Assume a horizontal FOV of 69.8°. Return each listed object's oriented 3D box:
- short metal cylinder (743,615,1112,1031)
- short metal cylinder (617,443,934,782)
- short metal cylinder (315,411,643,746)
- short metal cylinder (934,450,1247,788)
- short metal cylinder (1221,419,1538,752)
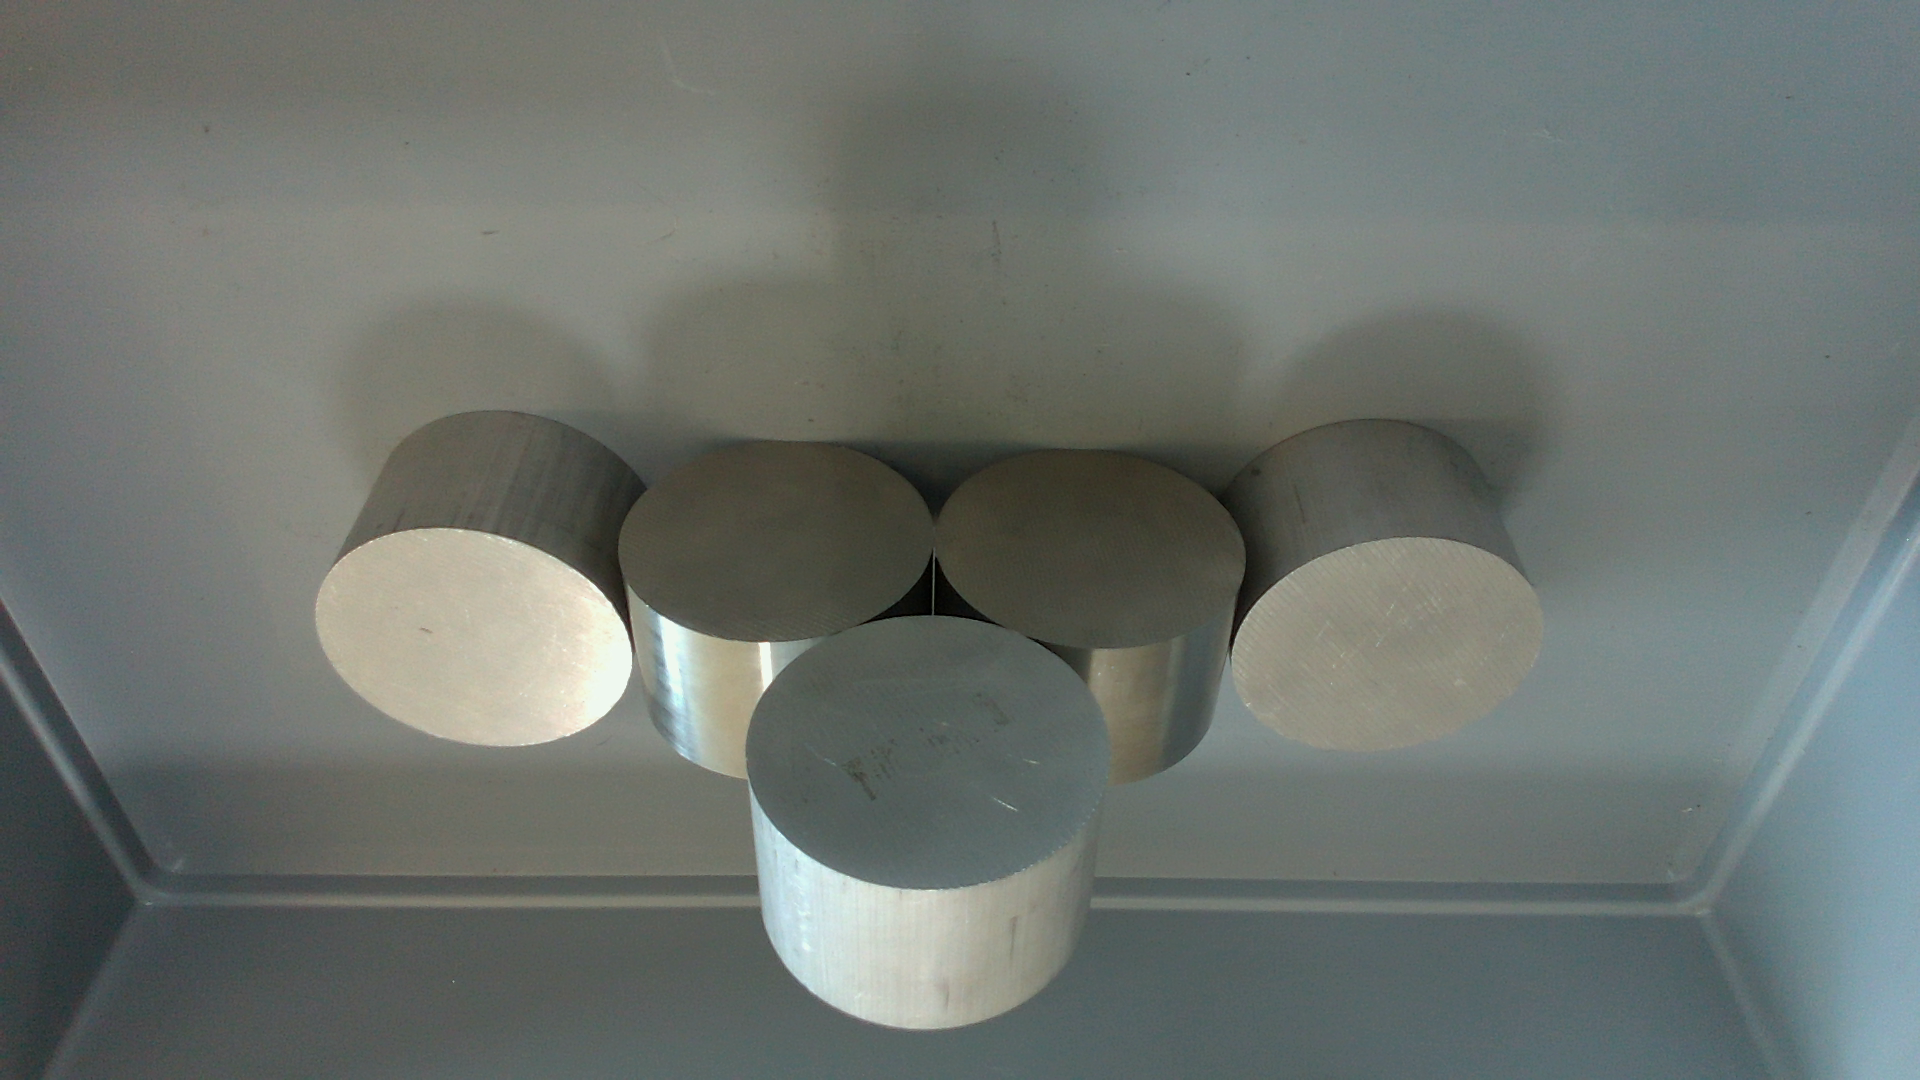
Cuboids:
[{"bbox_3d":[-0.007,0.063,0.316,0.080,0.080,0.050,1,130,-1],"label":"short metal cylinder"},{"bbox_3d":[-0.047,0.018,0.367,0.080,0.080,0.050,1,130,-1],"label":"short metal cylinder"},{"bbox_3d":[-0.128,0.012,0.381,0.080,0.050,0.080,0,130,0],"label":"short metal cylinder"},{"bbox_3d":[0.033,0.020,0.369,0.080,0.080,0.050,1,130,-1],"label":"short metal cylinder"},{"bbox_3d":[0.112,0.014,0.385,0.080,0.050,0.080,0,130,0],"label":"short metal cylinder"}]
